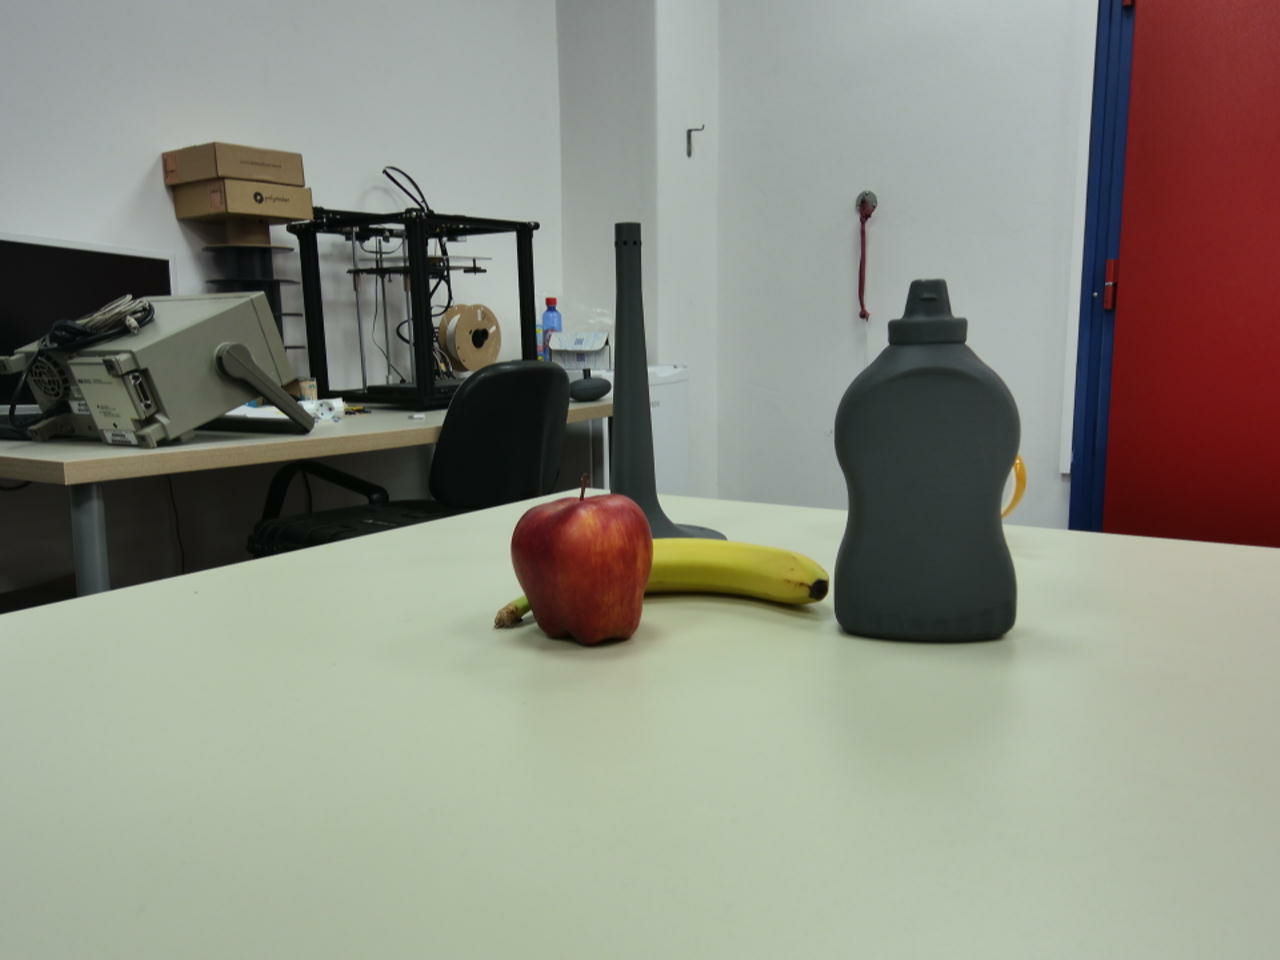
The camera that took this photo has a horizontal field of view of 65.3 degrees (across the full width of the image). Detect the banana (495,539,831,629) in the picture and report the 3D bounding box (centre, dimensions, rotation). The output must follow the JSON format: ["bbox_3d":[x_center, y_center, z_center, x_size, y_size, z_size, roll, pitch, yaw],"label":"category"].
[{"bbox_3d":[0.013,0.061,0.624,0.196,0.041,0.094,0,6,-1],"label":"banana"}]
